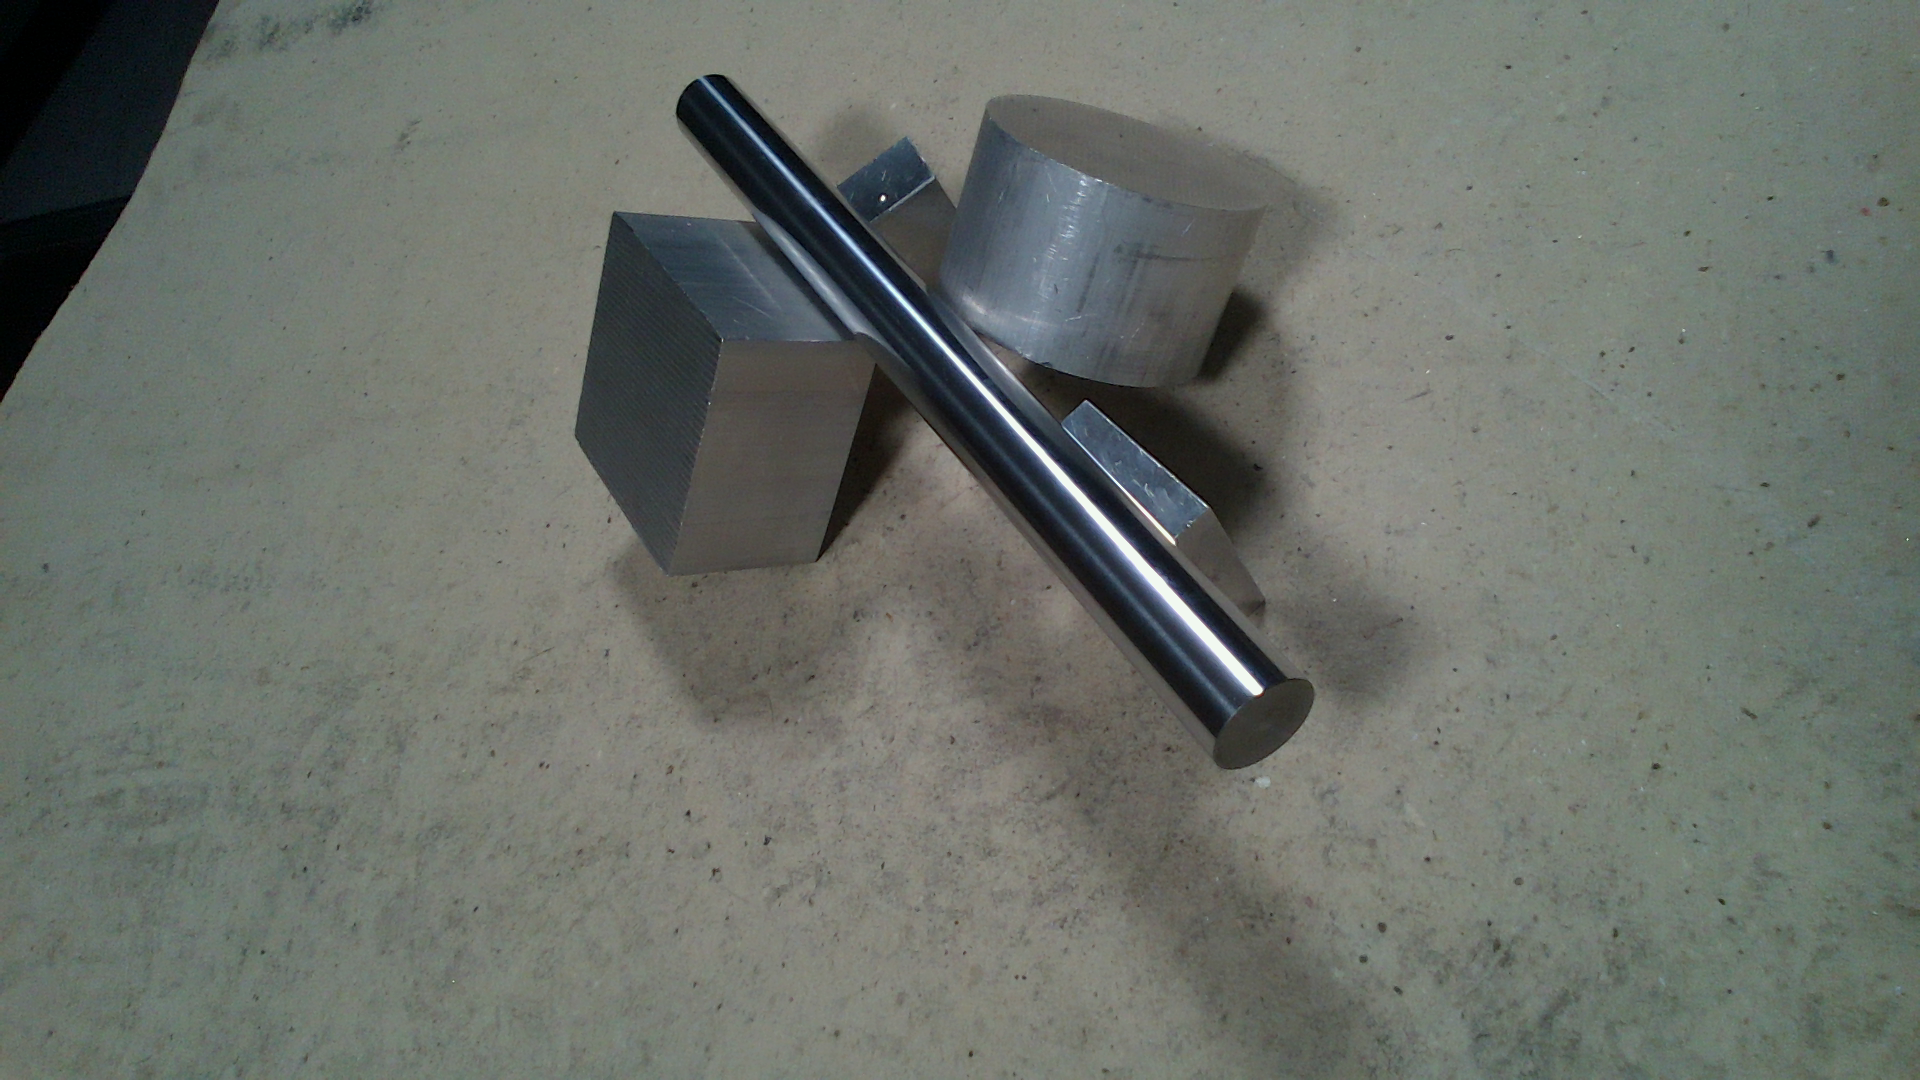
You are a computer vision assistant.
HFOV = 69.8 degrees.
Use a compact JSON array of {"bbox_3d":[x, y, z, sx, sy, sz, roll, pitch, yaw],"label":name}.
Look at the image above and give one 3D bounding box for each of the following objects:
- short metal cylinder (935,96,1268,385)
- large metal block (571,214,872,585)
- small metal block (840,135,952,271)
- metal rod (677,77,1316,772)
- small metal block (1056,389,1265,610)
[{"bbox_3d":[0.038,-0.084,0.382,0.080,0.080,0.050,45,129,39],"label":"short metal cylinder"},{"bbox_3d":[-0.076,-0.044,0.423,0.080,0.050,0.080,48,130,39],"label":"large metal block"},{"bbox_3d":[-0.022,-0.093,0.448,0.050,0.050,0.025,-34,51,6],"label":"small metal block"},{"bbox_3d":[-0.011,-0.053,0.368,0.025,0.025,0.299,-40,51,1],"label":"metal rod"},{"bbox_3d":[0.046,-0.004,0.351,0.025,0.050,0.050,-42,51,0],"label":"small metal block"}]
